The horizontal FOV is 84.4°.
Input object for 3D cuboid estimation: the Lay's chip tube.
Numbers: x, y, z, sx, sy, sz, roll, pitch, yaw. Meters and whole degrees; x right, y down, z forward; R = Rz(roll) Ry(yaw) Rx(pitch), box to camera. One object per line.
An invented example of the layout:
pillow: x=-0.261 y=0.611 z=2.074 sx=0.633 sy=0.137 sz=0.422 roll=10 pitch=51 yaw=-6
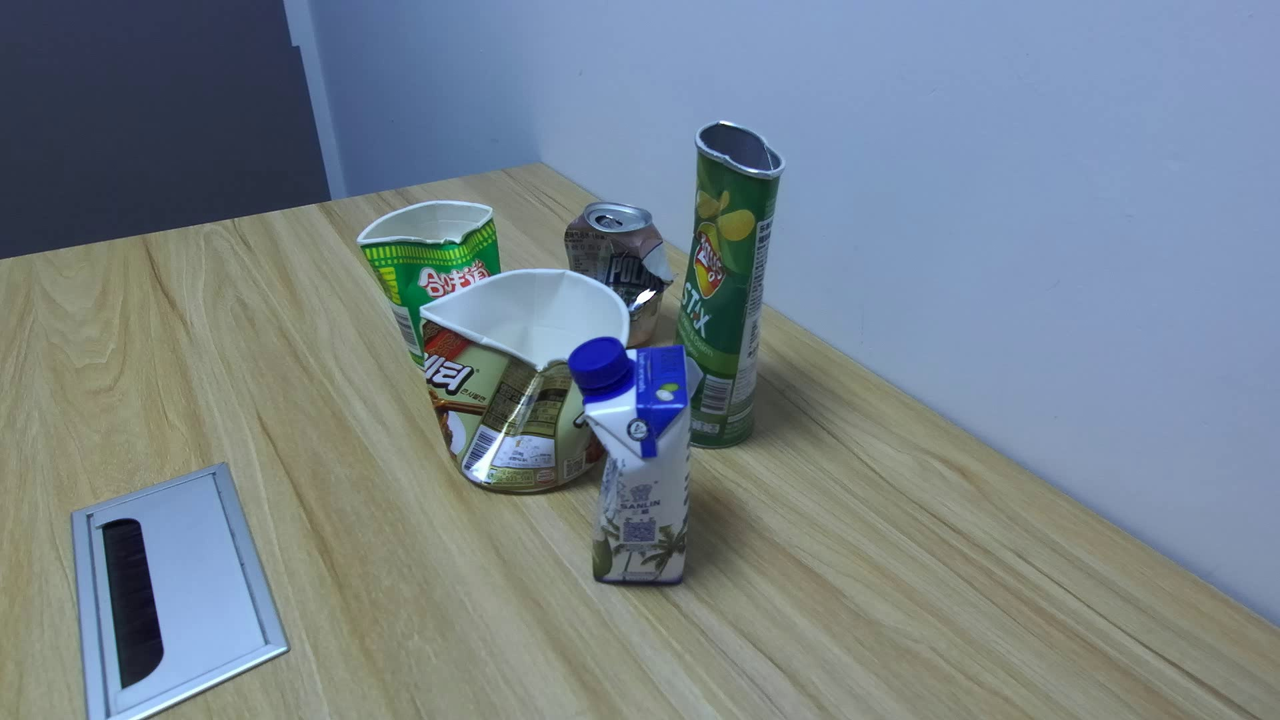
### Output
Lay's chip tube: x=0.053 y=-0.040 z=0.450 sx=0.074 sy=0.199 sz=0.069 roll=25 pitch=42 yaw=28

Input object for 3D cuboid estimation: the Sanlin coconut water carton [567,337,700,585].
Sanlin coconut water carton: x=-0.001 y=0.052 z=0.374 sx=0.058 sy=0.142 sz=0.078 roll=-2 pitch=34 yaw=3

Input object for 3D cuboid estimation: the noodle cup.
noodle cup: x=-0.147 y=-0.055 z=0.541 sx=0.083 sy=0.122 sz=0.075 roll=-5 pitch=28 yaw=5

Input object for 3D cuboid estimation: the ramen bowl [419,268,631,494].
ramen bowl: x=-0.067 y=0.011 z=0.467 sx=0.137 sy=0.098 sz=0.137 roll=5 pitch=36 yaw=-3

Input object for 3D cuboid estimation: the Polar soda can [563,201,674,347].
Polar soda can: x=-0.016 y=-0.066 z=0.564 sx=0.074 sy=0.114 sz=0.070 roll=-14 pitch=42 yaw=-19
